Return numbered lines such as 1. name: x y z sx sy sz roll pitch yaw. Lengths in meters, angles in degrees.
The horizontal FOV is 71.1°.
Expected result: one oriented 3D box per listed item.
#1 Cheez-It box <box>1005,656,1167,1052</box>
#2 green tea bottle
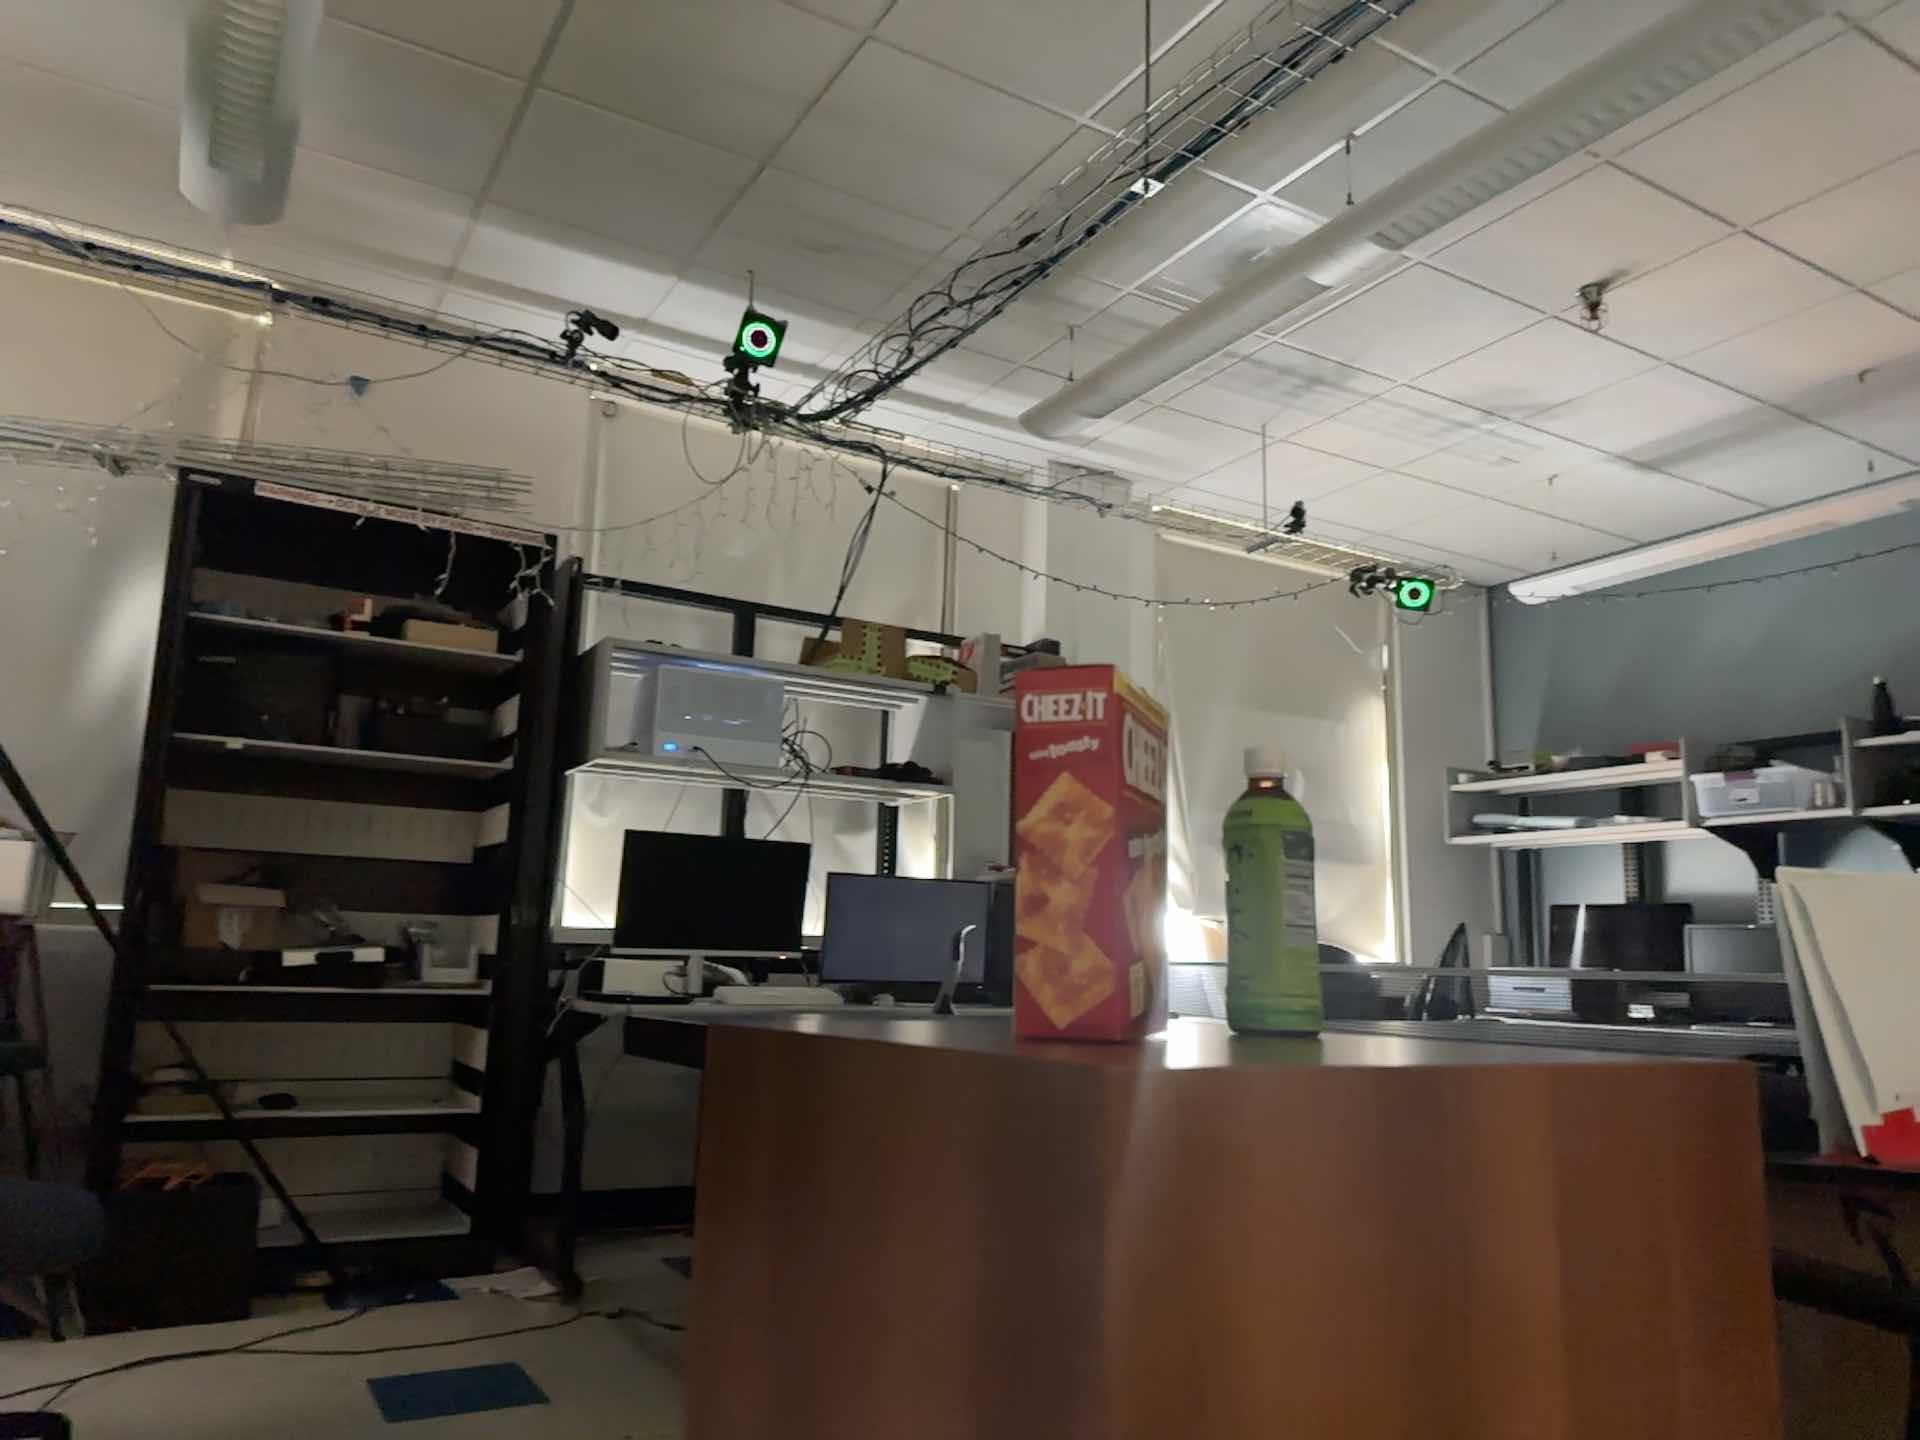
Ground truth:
1. Cheez-It box: 0.081 0.084 0.828 0.062 0.214 0.159 -1 -9 17
2. green tea bottle: 0.222 0.120 0.981 0.073 0.212 0.073 2 -10 0
